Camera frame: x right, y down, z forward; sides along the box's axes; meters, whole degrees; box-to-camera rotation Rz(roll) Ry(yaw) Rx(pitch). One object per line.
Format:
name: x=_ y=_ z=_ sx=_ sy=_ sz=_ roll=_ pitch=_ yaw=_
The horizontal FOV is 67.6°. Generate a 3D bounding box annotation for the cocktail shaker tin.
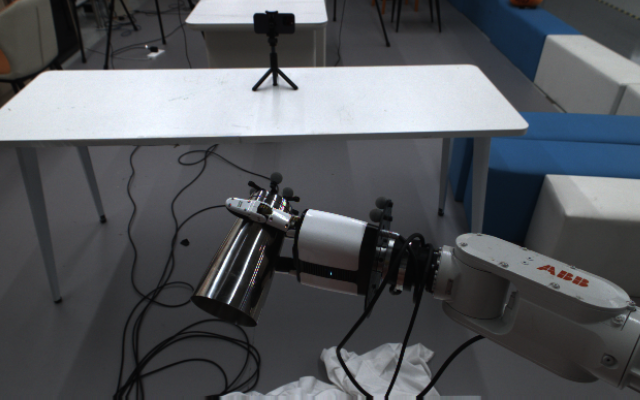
cocktail shaker tin: x=-0.097 y=0.071 z=0.658 sx=0.093 sy=0.093 sz=0.170 roll=13 pitch=59 yaw=16
